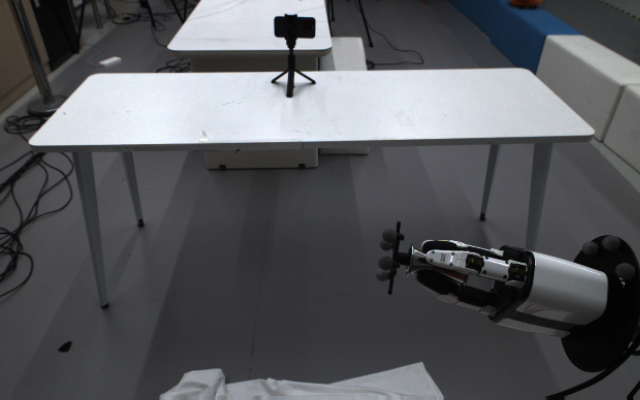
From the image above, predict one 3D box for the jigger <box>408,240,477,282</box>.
[{"bbox_3d":[0.148,0.072,0.585,0.071,0.043,0.043,7,35,5],"label":"jigger"}]
